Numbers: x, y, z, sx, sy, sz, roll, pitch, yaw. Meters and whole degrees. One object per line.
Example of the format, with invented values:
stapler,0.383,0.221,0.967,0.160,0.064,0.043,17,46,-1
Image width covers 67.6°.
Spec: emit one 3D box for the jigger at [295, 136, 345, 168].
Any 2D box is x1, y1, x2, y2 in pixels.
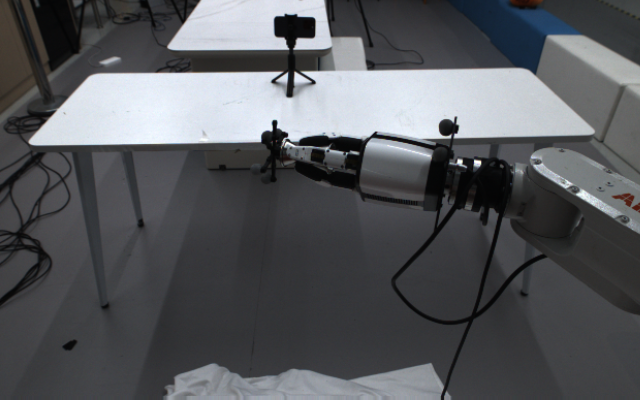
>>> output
jigger,-0.010,-0.065,0.665,0.071,0.043,0.043,8,35,16
